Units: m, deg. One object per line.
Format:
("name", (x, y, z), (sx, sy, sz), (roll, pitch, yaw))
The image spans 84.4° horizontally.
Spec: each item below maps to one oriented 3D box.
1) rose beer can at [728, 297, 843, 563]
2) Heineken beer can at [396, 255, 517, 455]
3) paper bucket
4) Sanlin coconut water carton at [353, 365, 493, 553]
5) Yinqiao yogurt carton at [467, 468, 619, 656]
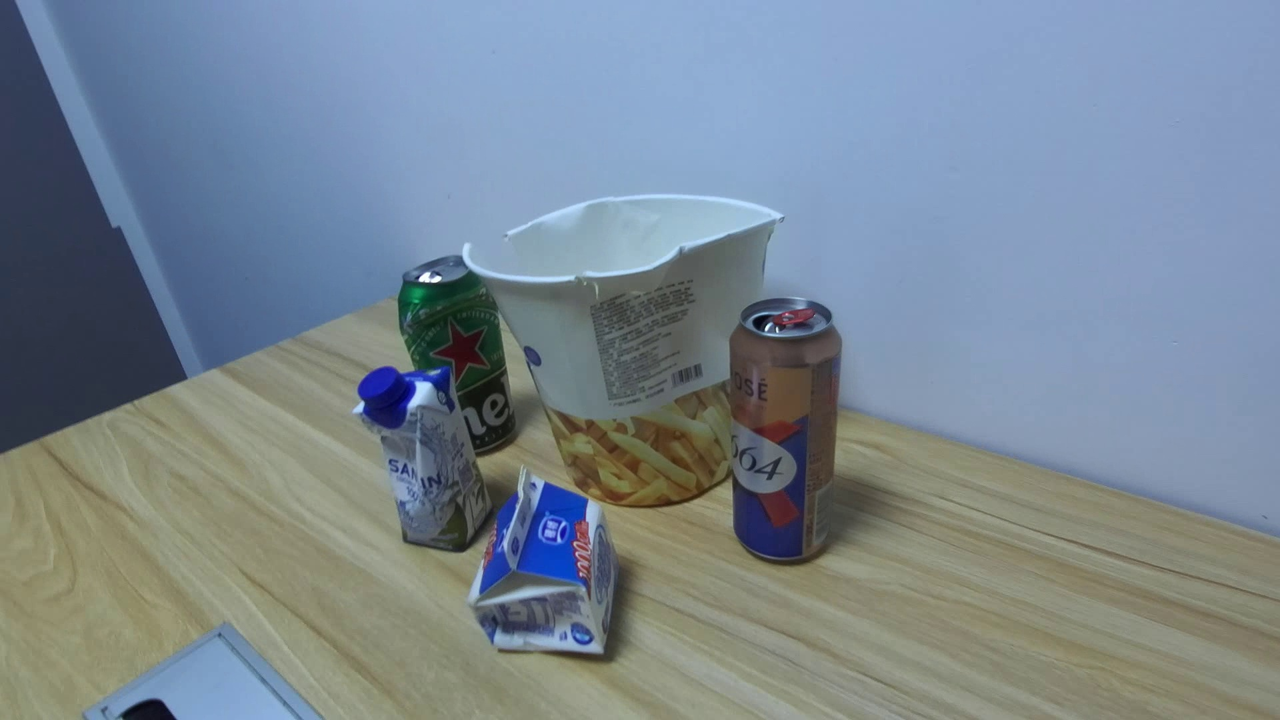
("rose beer can", (0.092, 0.049, 0.455), (0.068, 0.169, 0.068), (-3, 28, 2))
("Heineken beer can", (-0.149, -0.002, 0.598), (0.078, 0.164, 0.066), (-14, 26, -11))
("paper bucket", (-0.004, -0.010, 0.543), (0.203, 0.197, 0.145), (-26, 34, -34))
("Sanlin coconut water carton", (-0.152, 0.063, 0.497), (0.060, 0.144, 0.070), (4, 30, 20))
("Yinqiao yogurt carton", (-0.063, 0.121, 0.423), (0.080, 0.097, 0.074), (-10, 28, 9))
